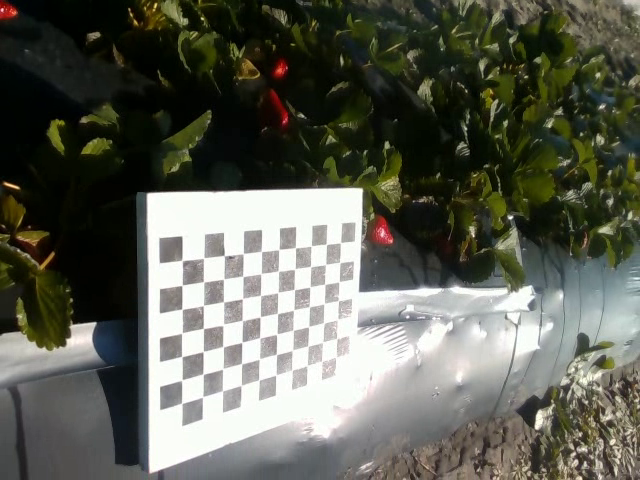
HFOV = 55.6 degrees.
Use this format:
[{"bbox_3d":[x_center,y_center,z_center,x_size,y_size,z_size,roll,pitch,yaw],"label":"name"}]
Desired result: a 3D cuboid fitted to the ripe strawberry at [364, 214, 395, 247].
[{"bbox_3d":[0.088,-0.010,0.857,0.029,0.048,0.055,10,-32,48],"label":"ripe strawberry"}]
